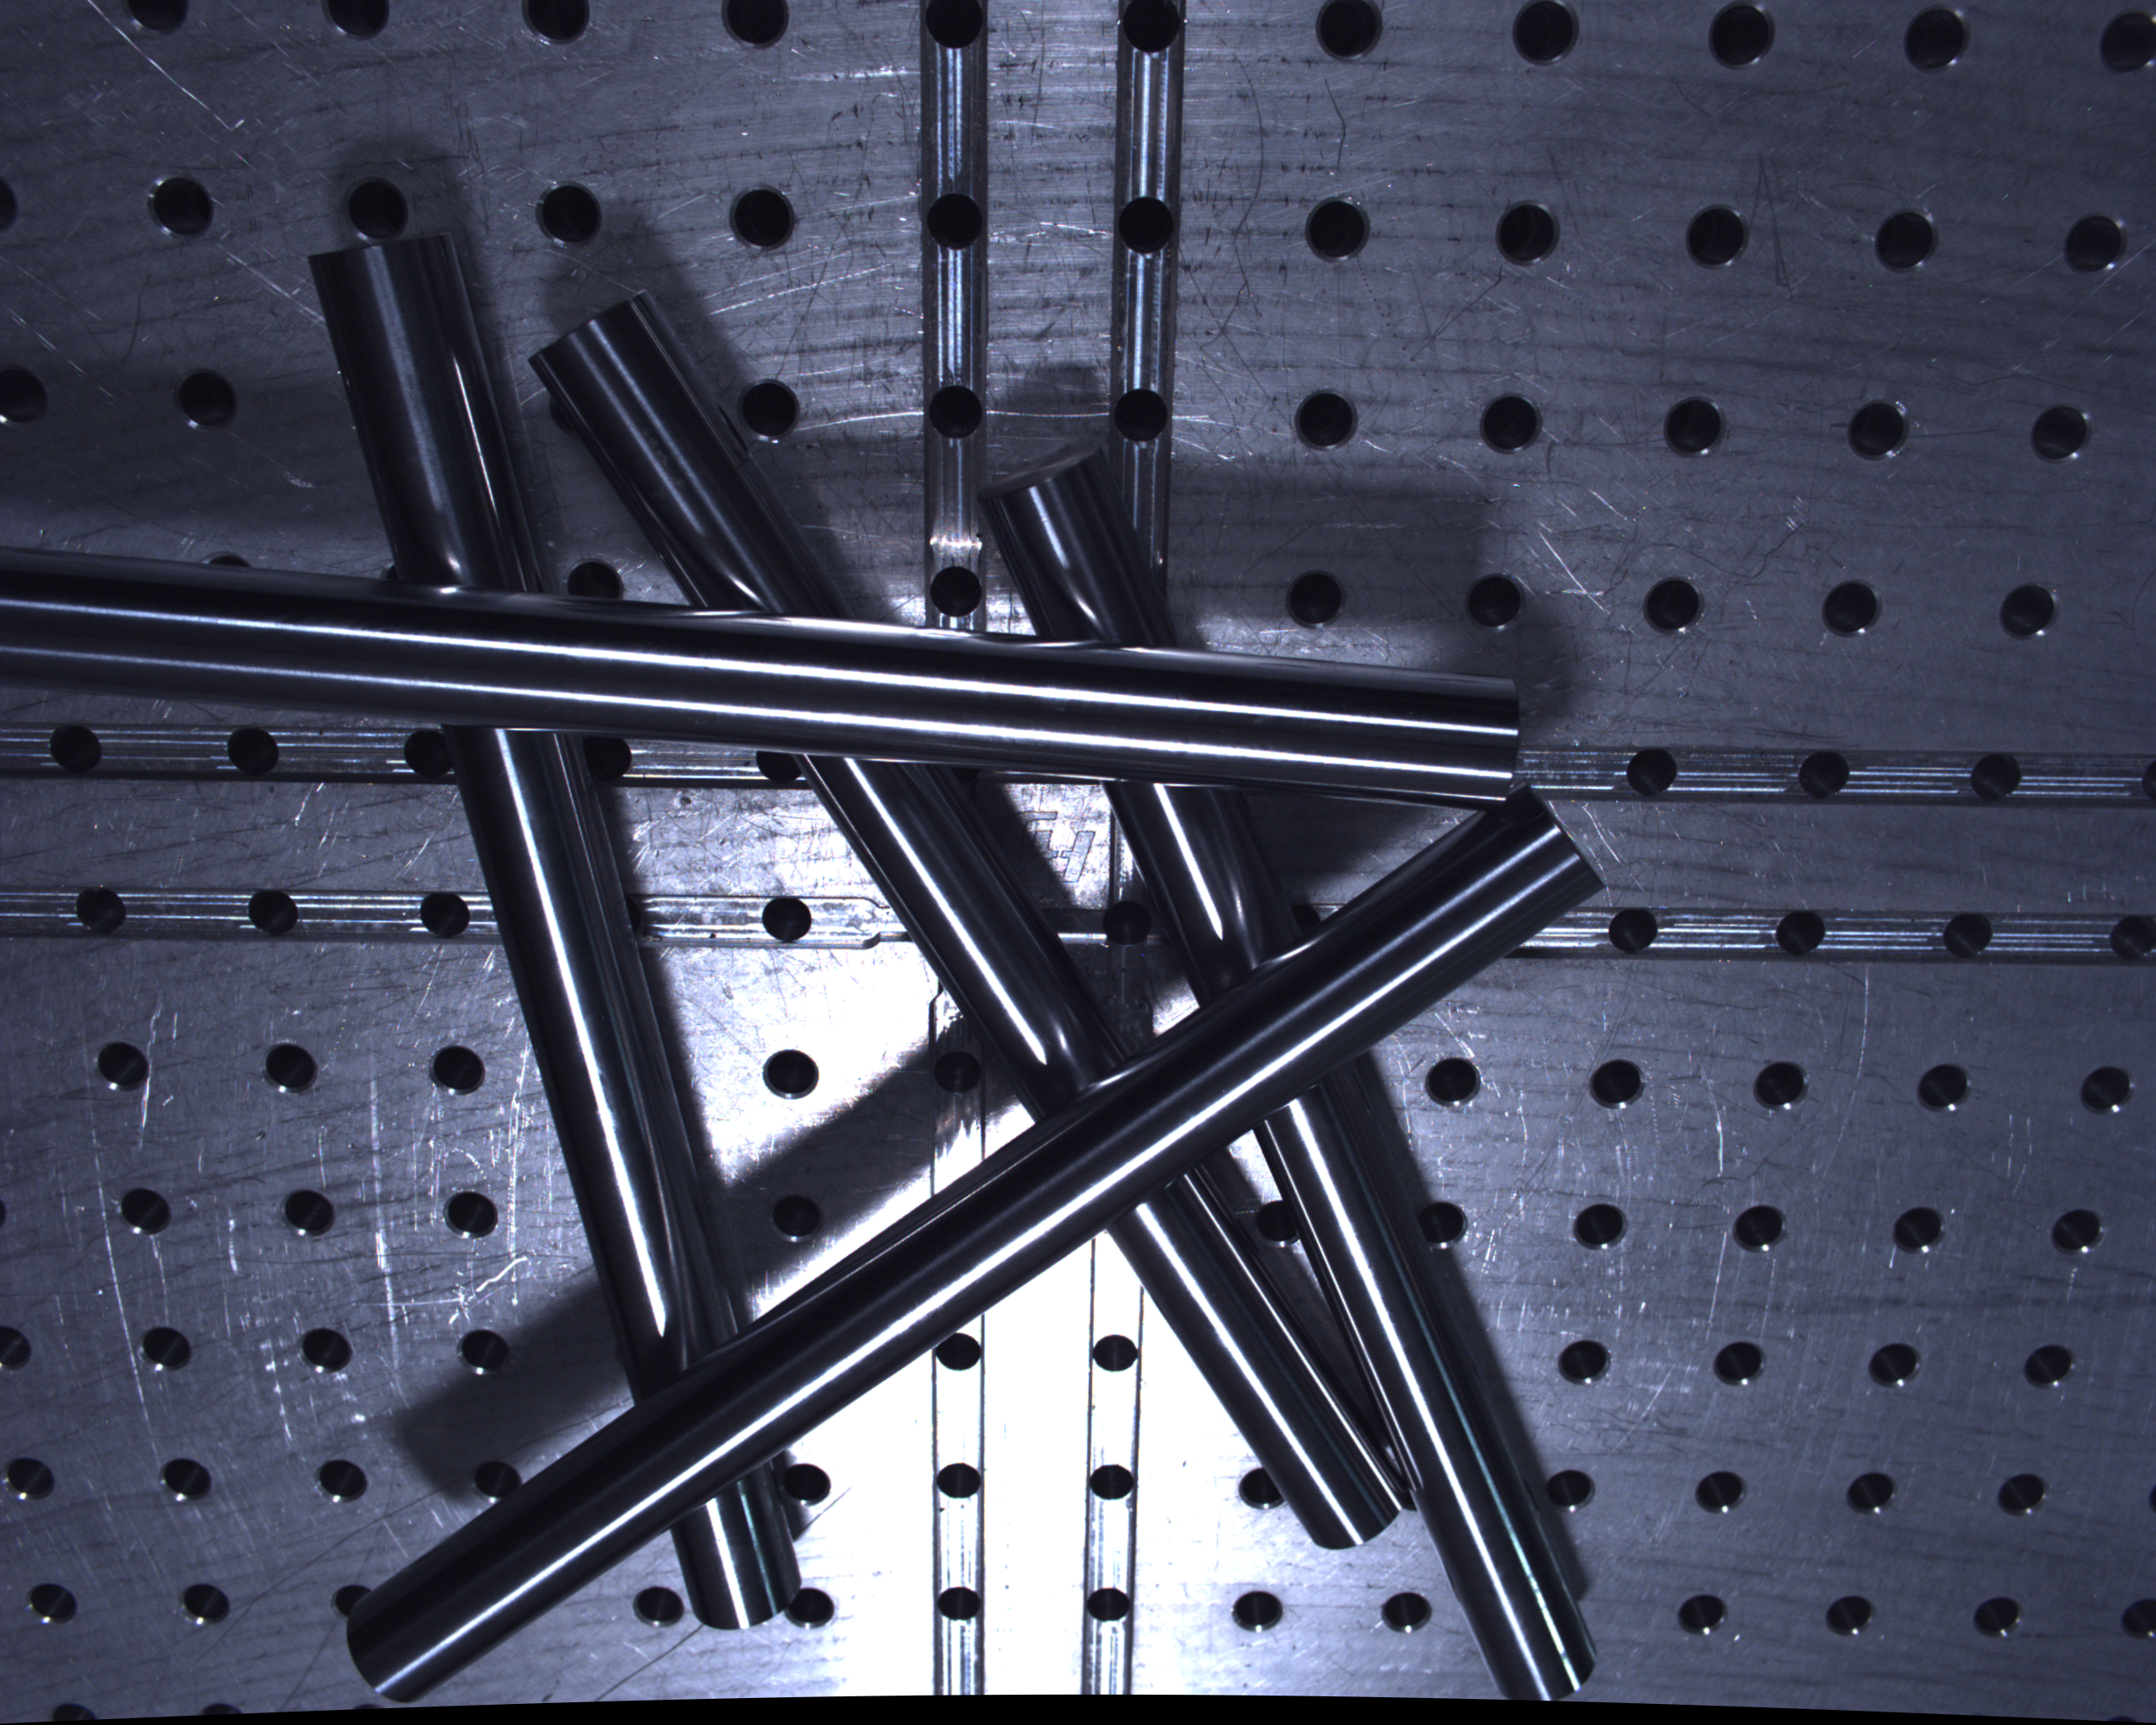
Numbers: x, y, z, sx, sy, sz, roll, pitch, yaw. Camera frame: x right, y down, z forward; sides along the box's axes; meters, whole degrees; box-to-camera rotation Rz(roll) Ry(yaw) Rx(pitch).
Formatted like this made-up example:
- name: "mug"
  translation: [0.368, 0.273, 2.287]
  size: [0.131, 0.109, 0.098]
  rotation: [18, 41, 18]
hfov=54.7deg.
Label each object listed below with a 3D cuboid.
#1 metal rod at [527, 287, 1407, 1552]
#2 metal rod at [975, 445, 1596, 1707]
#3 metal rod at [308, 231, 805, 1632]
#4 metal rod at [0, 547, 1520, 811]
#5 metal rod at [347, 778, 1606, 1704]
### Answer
- name: "metal rod"
  translation: [-0.013, 0.024, 0.421]
  size: [0.025, 0.025, 0.299]
  rotation: [-29, 108, 10]
- name: "metal rod"
  translation: [0.050, 0.057, 0.435]
  size: [0.025, 0.025, 0.299]
  rotation: [-22, 109, 7]
- name: "metal rod"
  translation: [-0.099, 0.028, 0.422]
  size: [0.025, 0.025, 0.298]
  rotation: [-9, 110, 3]
- name: "metal rod"
  translation: [-0.073, -0.034, 0.373]
  size: [0.302, 0.025, 0.025]
  rotation: [5, 110, -3]
- name: "metal rod"
  translation: [-0.028, 0.081, 0.416]
  size: [0.300, 0.025, 0.025]
  rotation: [-36, 107, 12]
